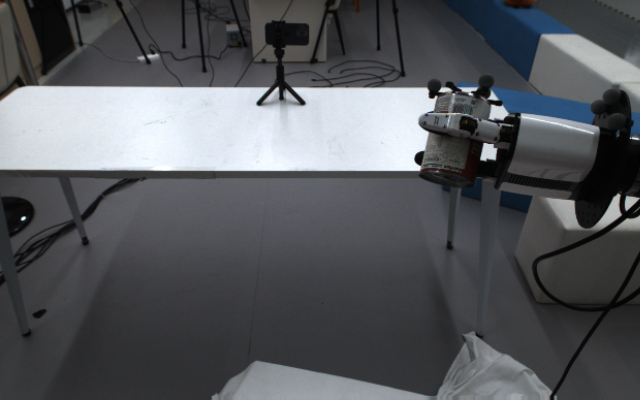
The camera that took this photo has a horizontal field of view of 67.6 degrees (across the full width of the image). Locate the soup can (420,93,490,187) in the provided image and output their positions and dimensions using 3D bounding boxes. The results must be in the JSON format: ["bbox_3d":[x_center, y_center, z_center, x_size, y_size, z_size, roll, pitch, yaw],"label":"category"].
[{"bbox_3d":[0.166,-0.073,0.591,0.067,0.101,0.067,13,-6,1],"label":"soup can"}]
